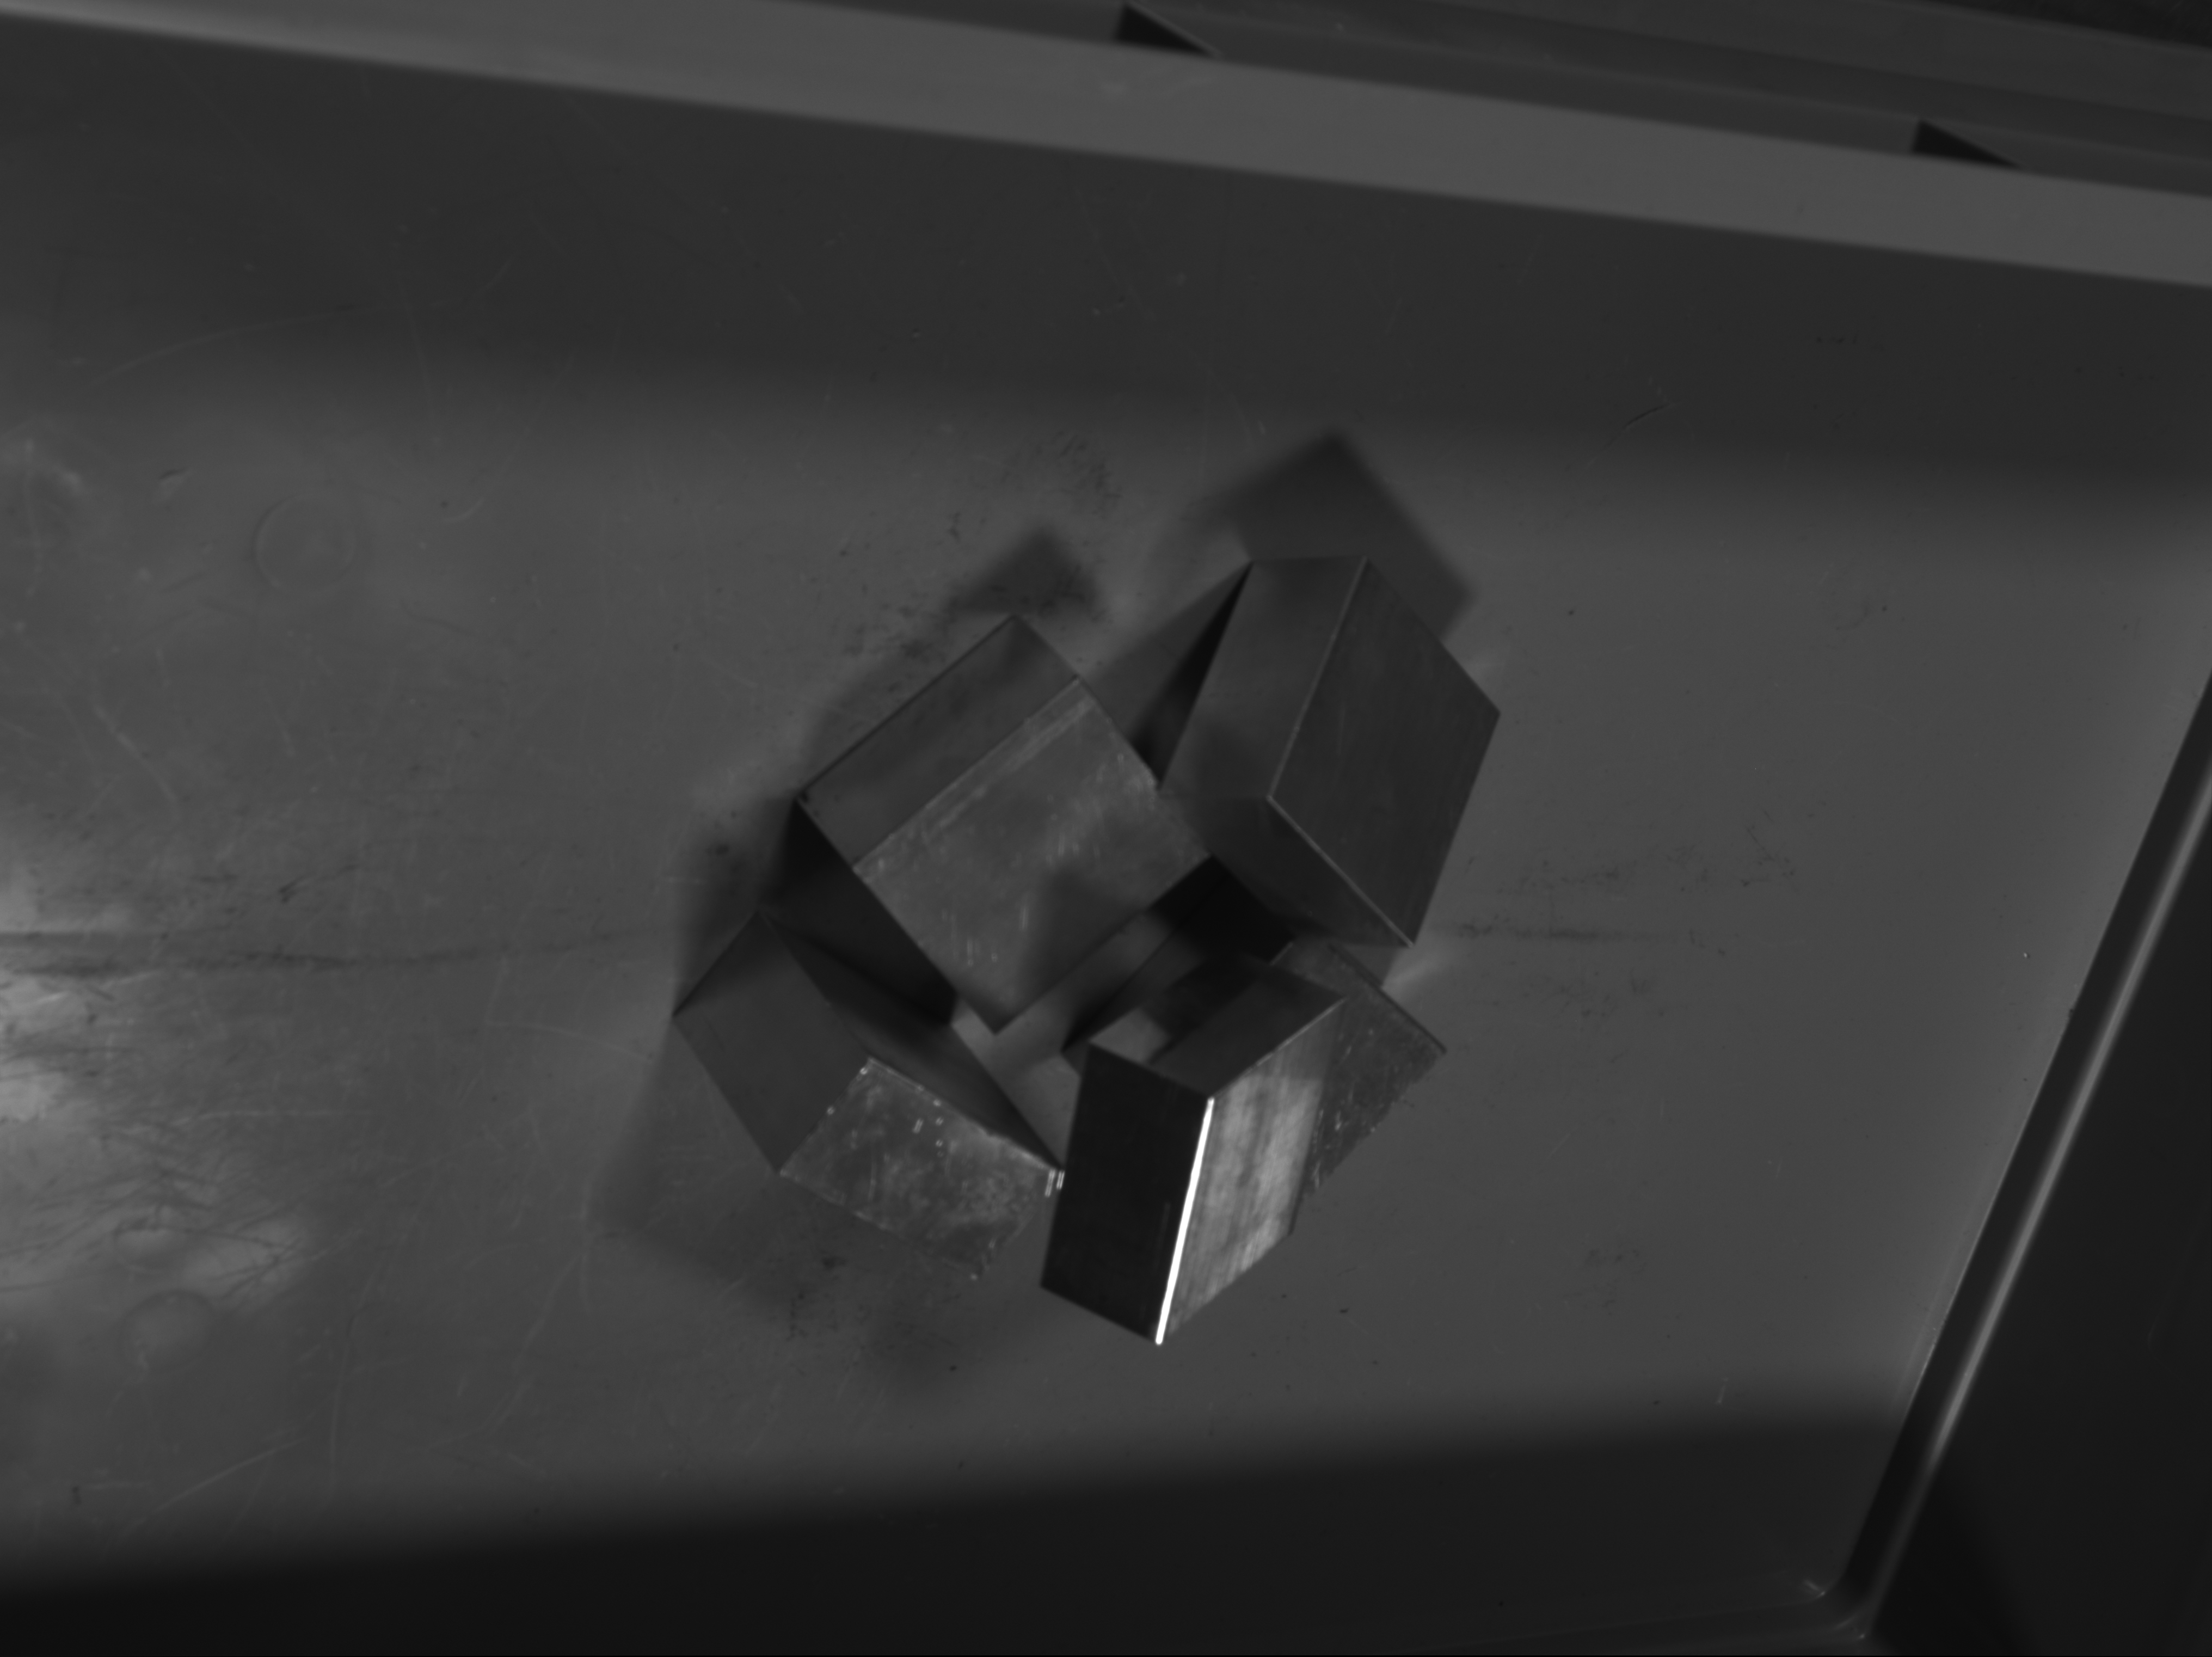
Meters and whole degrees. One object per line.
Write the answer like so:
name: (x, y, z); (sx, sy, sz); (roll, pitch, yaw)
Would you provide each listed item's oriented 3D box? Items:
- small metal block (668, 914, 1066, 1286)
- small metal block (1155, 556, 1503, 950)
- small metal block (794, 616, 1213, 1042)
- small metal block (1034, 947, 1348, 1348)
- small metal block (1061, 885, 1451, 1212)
small metal block: (-0.042, 0.047, 0.637); (0.050, 0.050, 0.025); (34, 98, -40)
small metal block: (0.041, -0.013, 0.650); (0.050, 0.025, 0.050); (44, 59, -41)
small metal block: (-0.017, 0.000, 0.638); (0.050, 0.025, 0.050); (-40, 130, -3)
small metal block: (0.015, 0.055, 0.645); (0.050, 0.025, 0.050); (-30, 138, -54)
small metal block: (0.029, 0.043, 0.692); (0.050, 0.025, 0.050); (-46, 130, 2)
